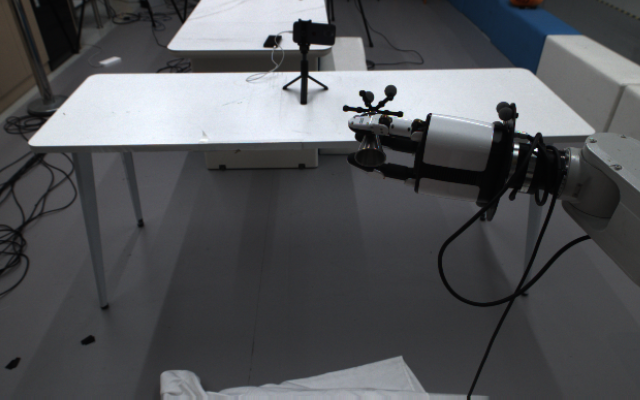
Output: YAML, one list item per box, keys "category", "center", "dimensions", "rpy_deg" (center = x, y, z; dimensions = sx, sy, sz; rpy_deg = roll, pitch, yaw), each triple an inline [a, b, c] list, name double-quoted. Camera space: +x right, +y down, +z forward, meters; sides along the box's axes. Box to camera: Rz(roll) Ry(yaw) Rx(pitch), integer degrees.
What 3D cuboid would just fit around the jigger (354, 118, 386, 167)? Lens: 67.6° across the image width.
- category: "jigger"
  center: [0.071, -0.088, 0.690]
  dimensions: [0.043, 0.043, 0.071]
  rpy_deg: [4, 61, 3]
